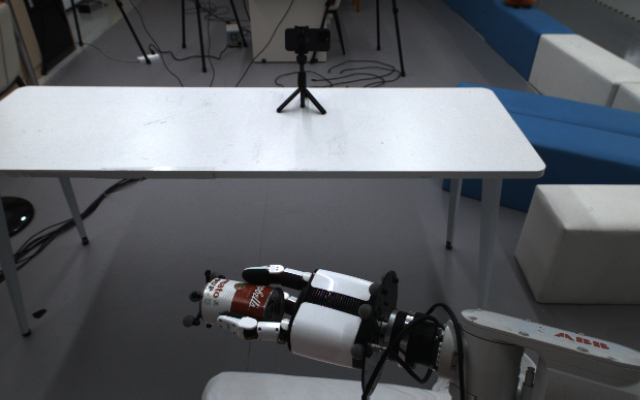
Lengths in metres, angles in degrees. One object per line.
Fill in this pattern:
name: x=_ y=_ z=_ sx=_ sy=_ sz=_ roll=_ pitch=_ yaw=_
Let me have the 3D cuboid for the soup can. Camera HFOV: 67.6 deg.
soup can: x=-0.106 y=0.151 z=0.682 sx=0.101 sy=0.067 sz=0.067 roll=6 pitch=34 yaw=18
